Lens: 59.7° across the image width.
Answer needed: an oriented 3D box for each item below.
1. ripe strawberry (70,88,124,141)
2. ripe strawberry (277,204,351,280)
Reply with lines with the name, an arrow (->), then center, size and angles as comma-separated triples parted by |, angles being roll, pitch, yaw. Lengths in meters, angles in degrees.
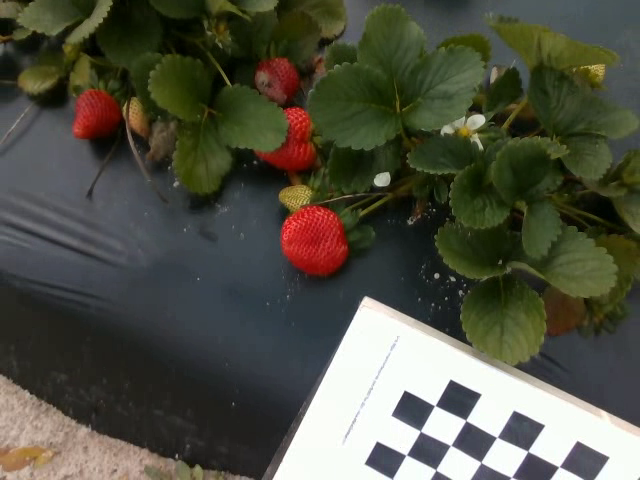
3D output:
ripe strawberry -> -0.178, -0.101, 0.440 | 0.043, 0.052, 0.041 | 9, -33, 14
ripe strawberry -> -0.010, 0.003, 0.415 | 0.057, 0.056, 0.064 | -10, 11, 31
